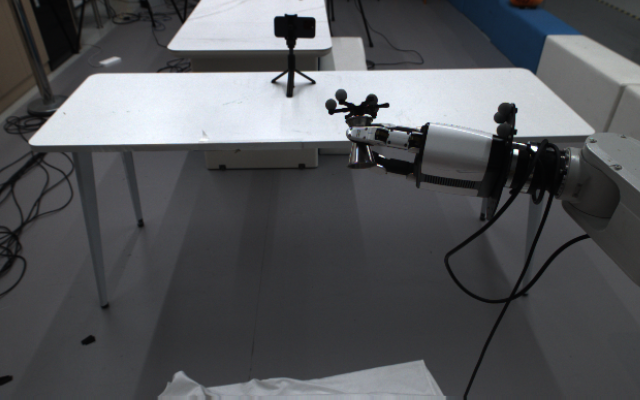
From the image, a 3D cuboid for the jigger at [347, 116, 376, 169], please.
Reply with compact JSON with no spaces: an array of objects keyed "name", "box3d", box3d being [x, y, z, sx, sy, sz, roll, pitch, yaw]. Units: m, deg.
[{"name":"jigger","box3d":[0.057,-0.083,0.693,0.043,0.071,0.043,-2,-7,0]}]
